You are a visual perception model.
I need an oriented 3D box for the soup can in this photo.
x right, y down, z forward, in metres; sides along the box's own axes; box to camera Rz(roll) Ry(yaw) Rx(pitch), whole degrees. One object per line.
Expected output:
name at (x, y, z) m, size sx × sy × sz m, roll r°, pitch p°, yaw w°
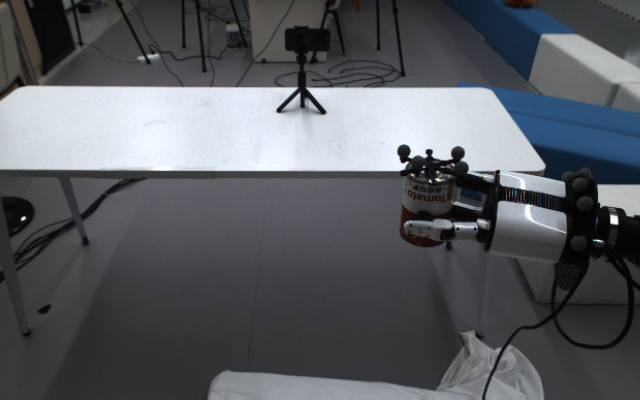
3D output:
soup can at (0.146, 0.001, 0.652) m, size 0.067 × 0.101 × 0.067 m, roll -2°, pitch 34°, yaw 1°
